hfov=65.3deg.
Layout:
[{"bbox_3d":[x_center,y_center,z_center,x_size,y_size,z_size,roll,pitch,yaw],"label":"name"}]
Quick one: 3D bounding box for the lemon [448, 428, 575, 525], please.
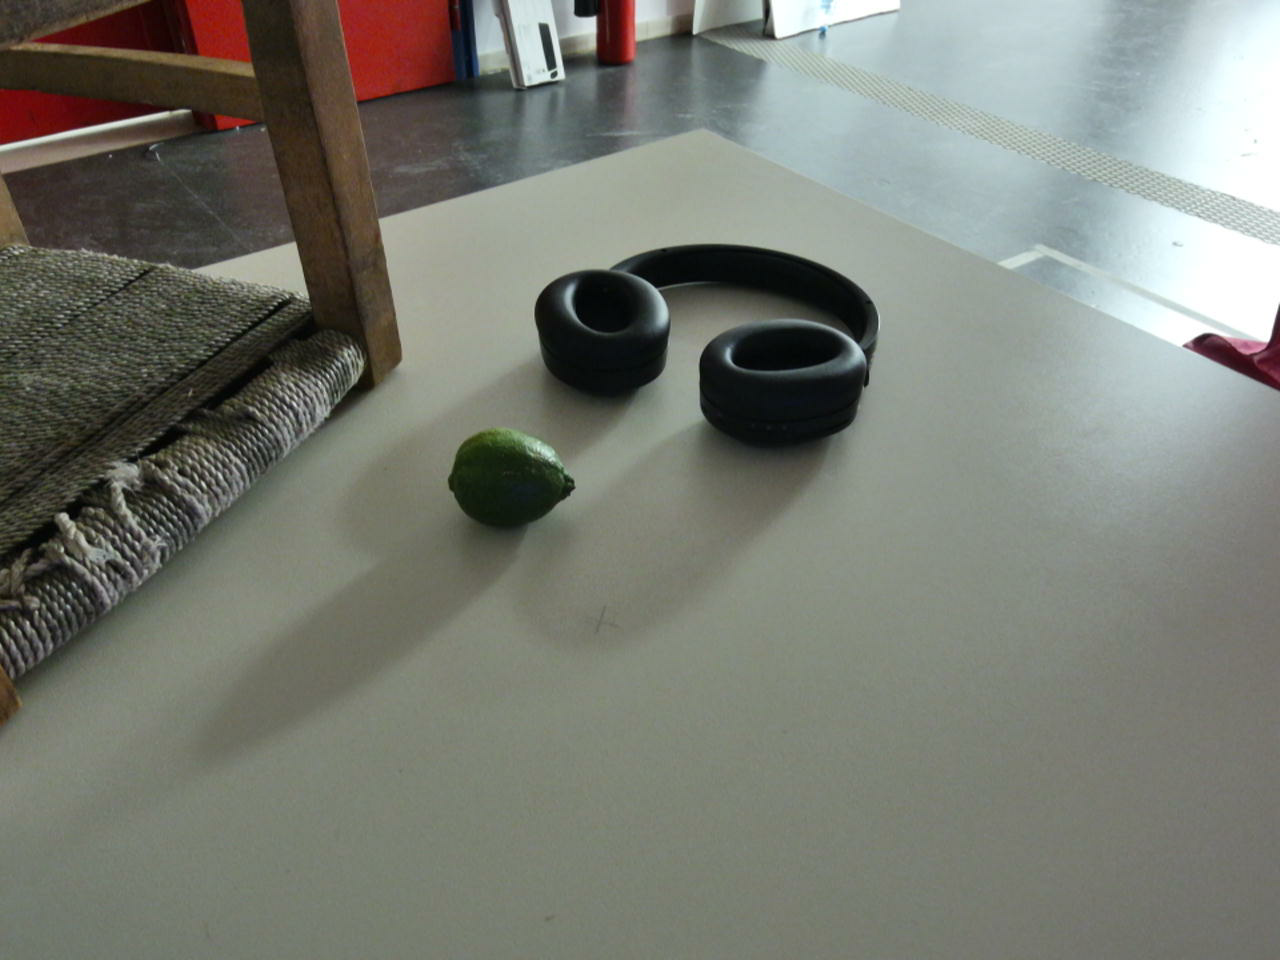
[{"bbox_3d":[-0.069,-0.002,0.514,0.057,0.051,0.054,-27,46,-32],"label":"lemon"}]
